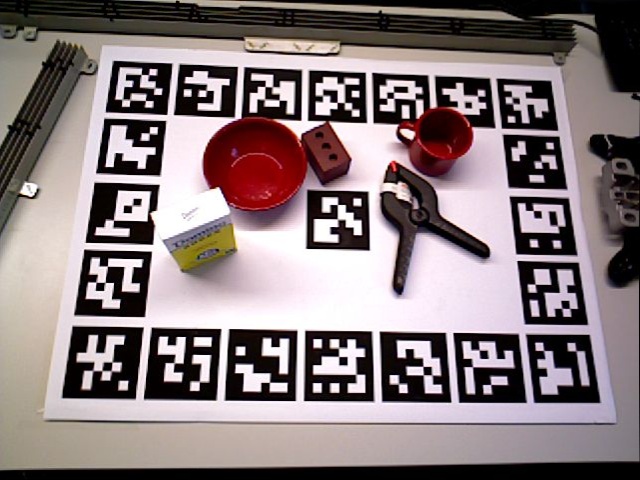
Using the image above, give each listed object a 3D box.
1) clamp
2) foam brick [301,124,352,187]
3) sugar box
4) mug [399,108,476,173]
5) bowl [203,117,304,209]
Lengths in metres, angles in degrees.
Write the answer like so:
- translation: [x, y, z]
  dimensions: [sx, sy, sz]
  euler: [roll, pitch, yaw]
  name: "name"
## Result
- translation: [0.146, -0.036, 0.838]
  dimensions: [0.164, 0.037, 0.202]
  euler: [-23, 78, -8]
  name: "clamp"
- translation: [0.008, -0.134, 0.861]
  dimensions: [0.052, 0.052, 0.078]
  euler: [-26, 78, -11]
  name: "foam brick"
- translation: [-0.172, -0.004, 0.741]
  dimensions: [0.092, 0.179, 0.045]
  euler: [-24, 78, -13]
  name: "sugar box"
- translation: [0.178, -0.164, 0.857]
  dimensions: [0.117, 0.082, 0.092]
  euler: [26, 73, 0]
  name: "mug"
- translation: [-0.106, -0.111, 0.839]
  dimensions: [0.160, 0.056, 0.160]
  euler: [1, 74, -5]
  name: "bowl"
